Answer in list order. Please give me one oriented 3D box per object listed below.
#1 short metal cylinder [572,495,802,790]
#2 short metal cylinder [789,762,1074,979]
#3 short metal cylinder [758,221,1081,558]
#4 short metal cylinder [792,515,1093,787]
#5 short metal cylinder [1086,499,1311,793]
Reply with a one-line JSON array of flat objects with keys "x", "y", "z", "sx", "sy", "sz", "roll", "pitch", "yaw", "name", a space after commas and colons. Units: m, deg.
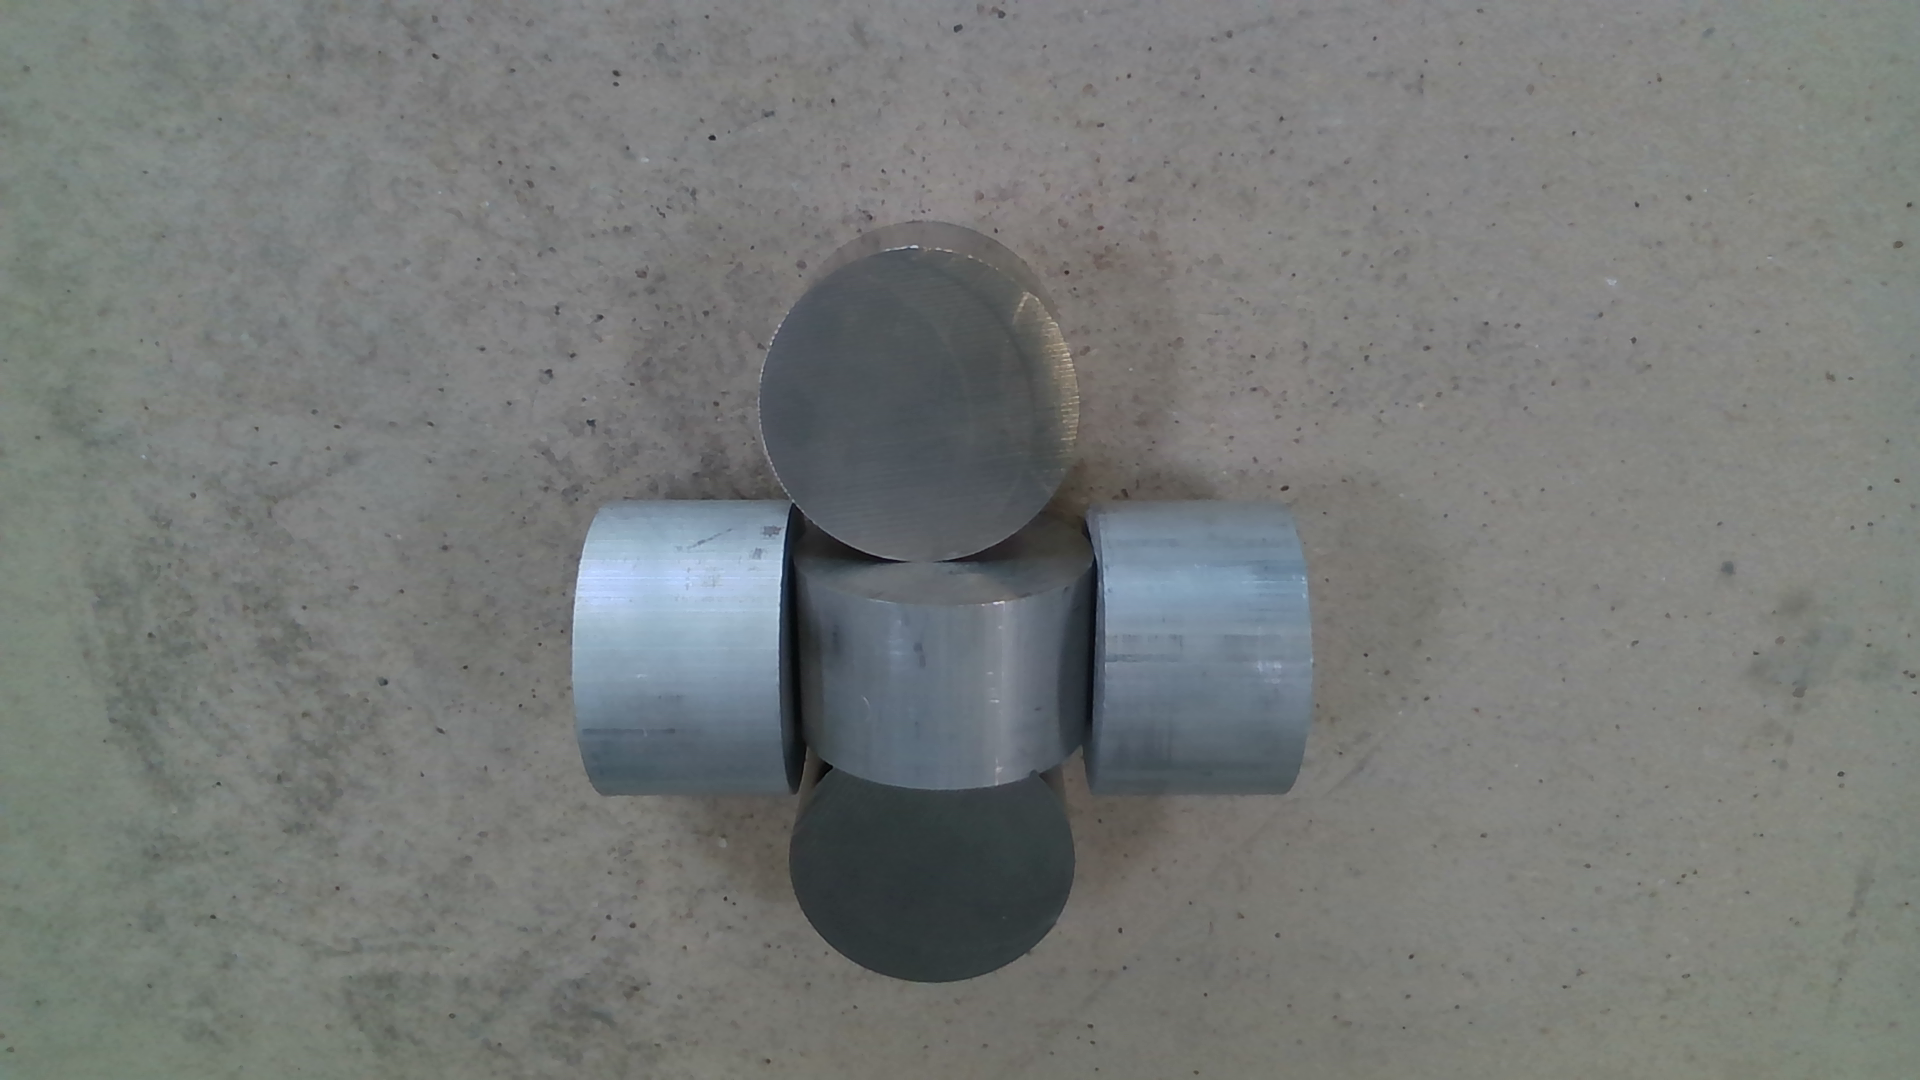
[{"x": -0.070, "y": 0.028, "z": 0.375, "sx": 0.050, "sy": 0.080, "sz": 0.080, "roll": 0, "pitch": 110, "yaw": 0, "name": "short metal cylinder"}, {"x": -0.008, "y": 0.082, "z": 0.410, "sx": 0.080, "sy": 0.050, "sz": 0.080, "roll": 0, "pitch": 110, "yaw": 0, "name": "short metal cylinder"}, {"x": -0.010, "y": -0.042, "z": 0.365, "sx": 0.080, "sy": 0.050, "sz": 0.080, "roll": 0, "pitch": 111, "yaw": 0, "name": "short metal cylinder"}, {"x": -0.005, "y": 0.025, "z": 0.374, "sx": 0.080, "sy": 0.080, "sz": 0.050, "roll": 0, "pitch": 110, "yaw": 0, "name": "short metal cylinder"}, {"x": 0.061, "y": 0.028, "z": 0.375, "sx": 0.050, "sy": 0.080, "sz": 0.080, "roll": 0, "pitch": 110, "yaw": 0, "name": "short metal cylinder"}]
